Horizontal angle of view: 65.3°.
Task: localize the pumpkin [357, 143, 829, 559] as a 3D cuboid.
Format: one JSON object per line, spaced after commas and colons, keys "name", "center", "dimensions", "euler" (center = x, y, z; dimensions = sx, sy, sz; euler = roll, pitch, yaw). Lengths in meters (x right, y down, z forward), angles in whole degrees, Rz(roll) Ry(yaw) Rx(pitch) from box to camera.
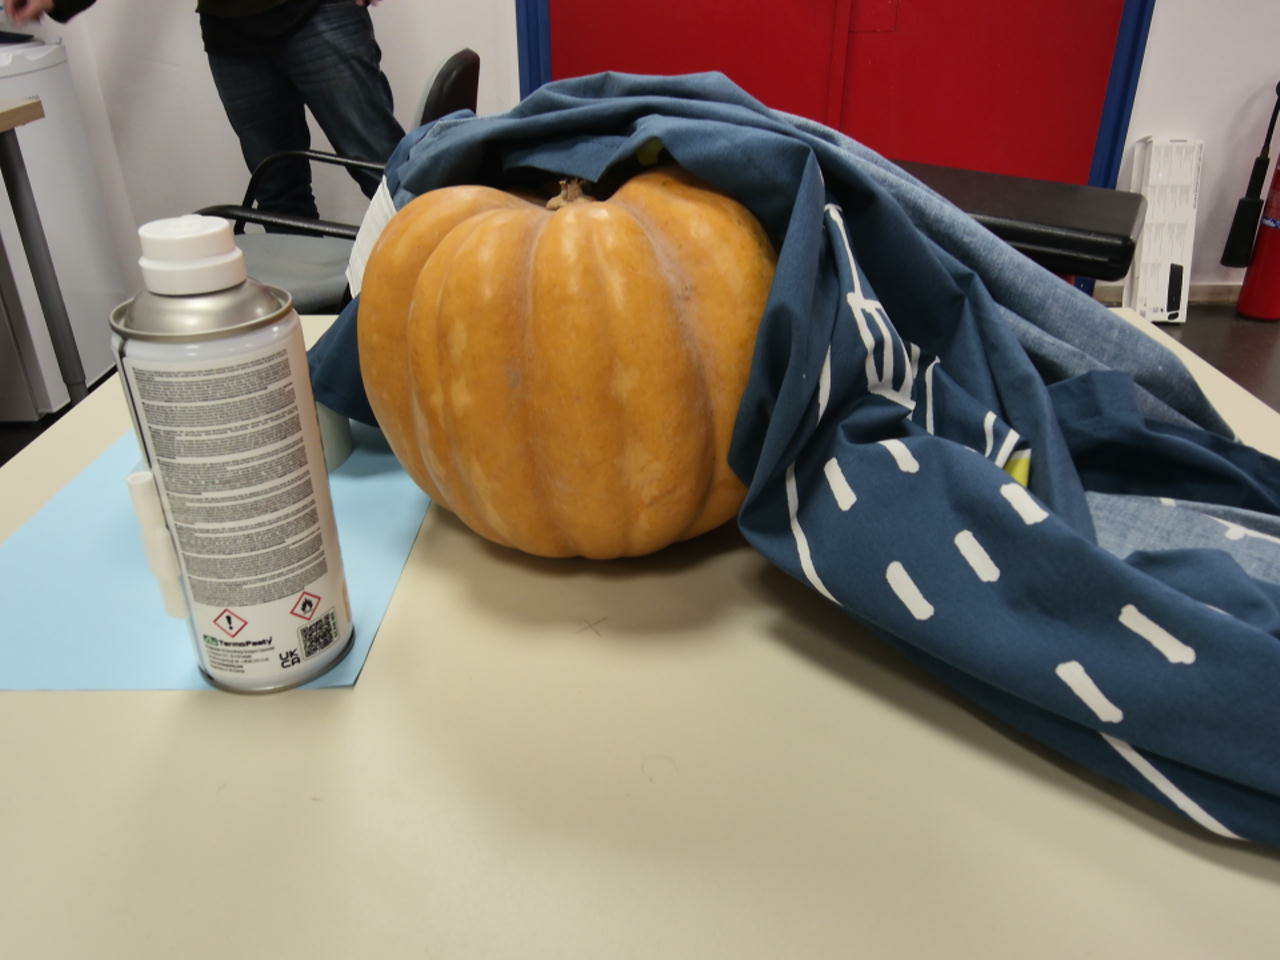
{"name": "pumpkin", "center": [-0.019, -0.065, 0.505], "dimensions": [0.230, 0.194, 0.230], "euler": [0, 26, 0]}
